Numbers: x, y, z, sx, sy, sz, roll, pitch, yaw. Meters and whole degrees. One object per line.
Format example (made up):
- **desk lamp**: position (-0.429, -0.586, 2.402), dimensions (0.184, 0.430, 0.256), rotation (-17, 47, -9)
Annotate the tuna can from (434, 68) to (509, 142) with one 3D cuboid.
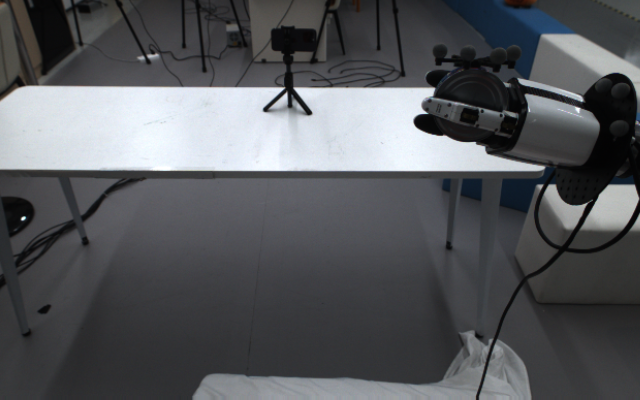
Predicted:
- **tuna can**: position (0.177, -0.116, 0.576), dimensions (0.085, 0.085, 0.034), rotation (9, 24, 10)
